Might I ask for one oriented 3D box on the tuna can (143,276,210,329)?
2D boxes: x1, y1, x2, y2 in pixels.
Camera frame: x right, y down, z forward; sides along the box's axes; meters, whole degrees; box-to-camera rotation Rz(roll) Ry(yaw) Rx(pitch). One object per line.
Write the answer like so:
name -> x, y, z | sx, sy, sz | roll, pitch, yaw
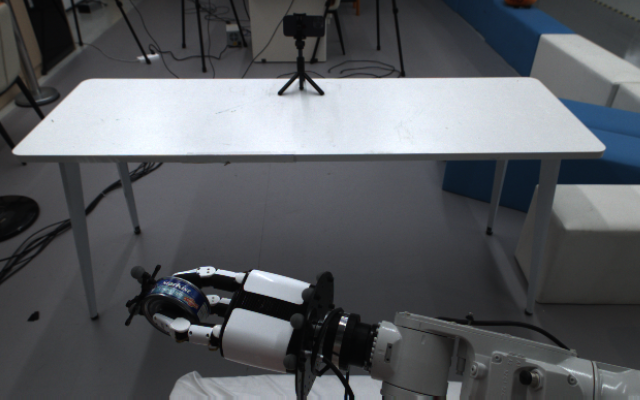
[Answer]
tuna can -> -0.190, 0.147, 0.646 | 0.085, 0.085, 0.034 | 8, 36, 9
